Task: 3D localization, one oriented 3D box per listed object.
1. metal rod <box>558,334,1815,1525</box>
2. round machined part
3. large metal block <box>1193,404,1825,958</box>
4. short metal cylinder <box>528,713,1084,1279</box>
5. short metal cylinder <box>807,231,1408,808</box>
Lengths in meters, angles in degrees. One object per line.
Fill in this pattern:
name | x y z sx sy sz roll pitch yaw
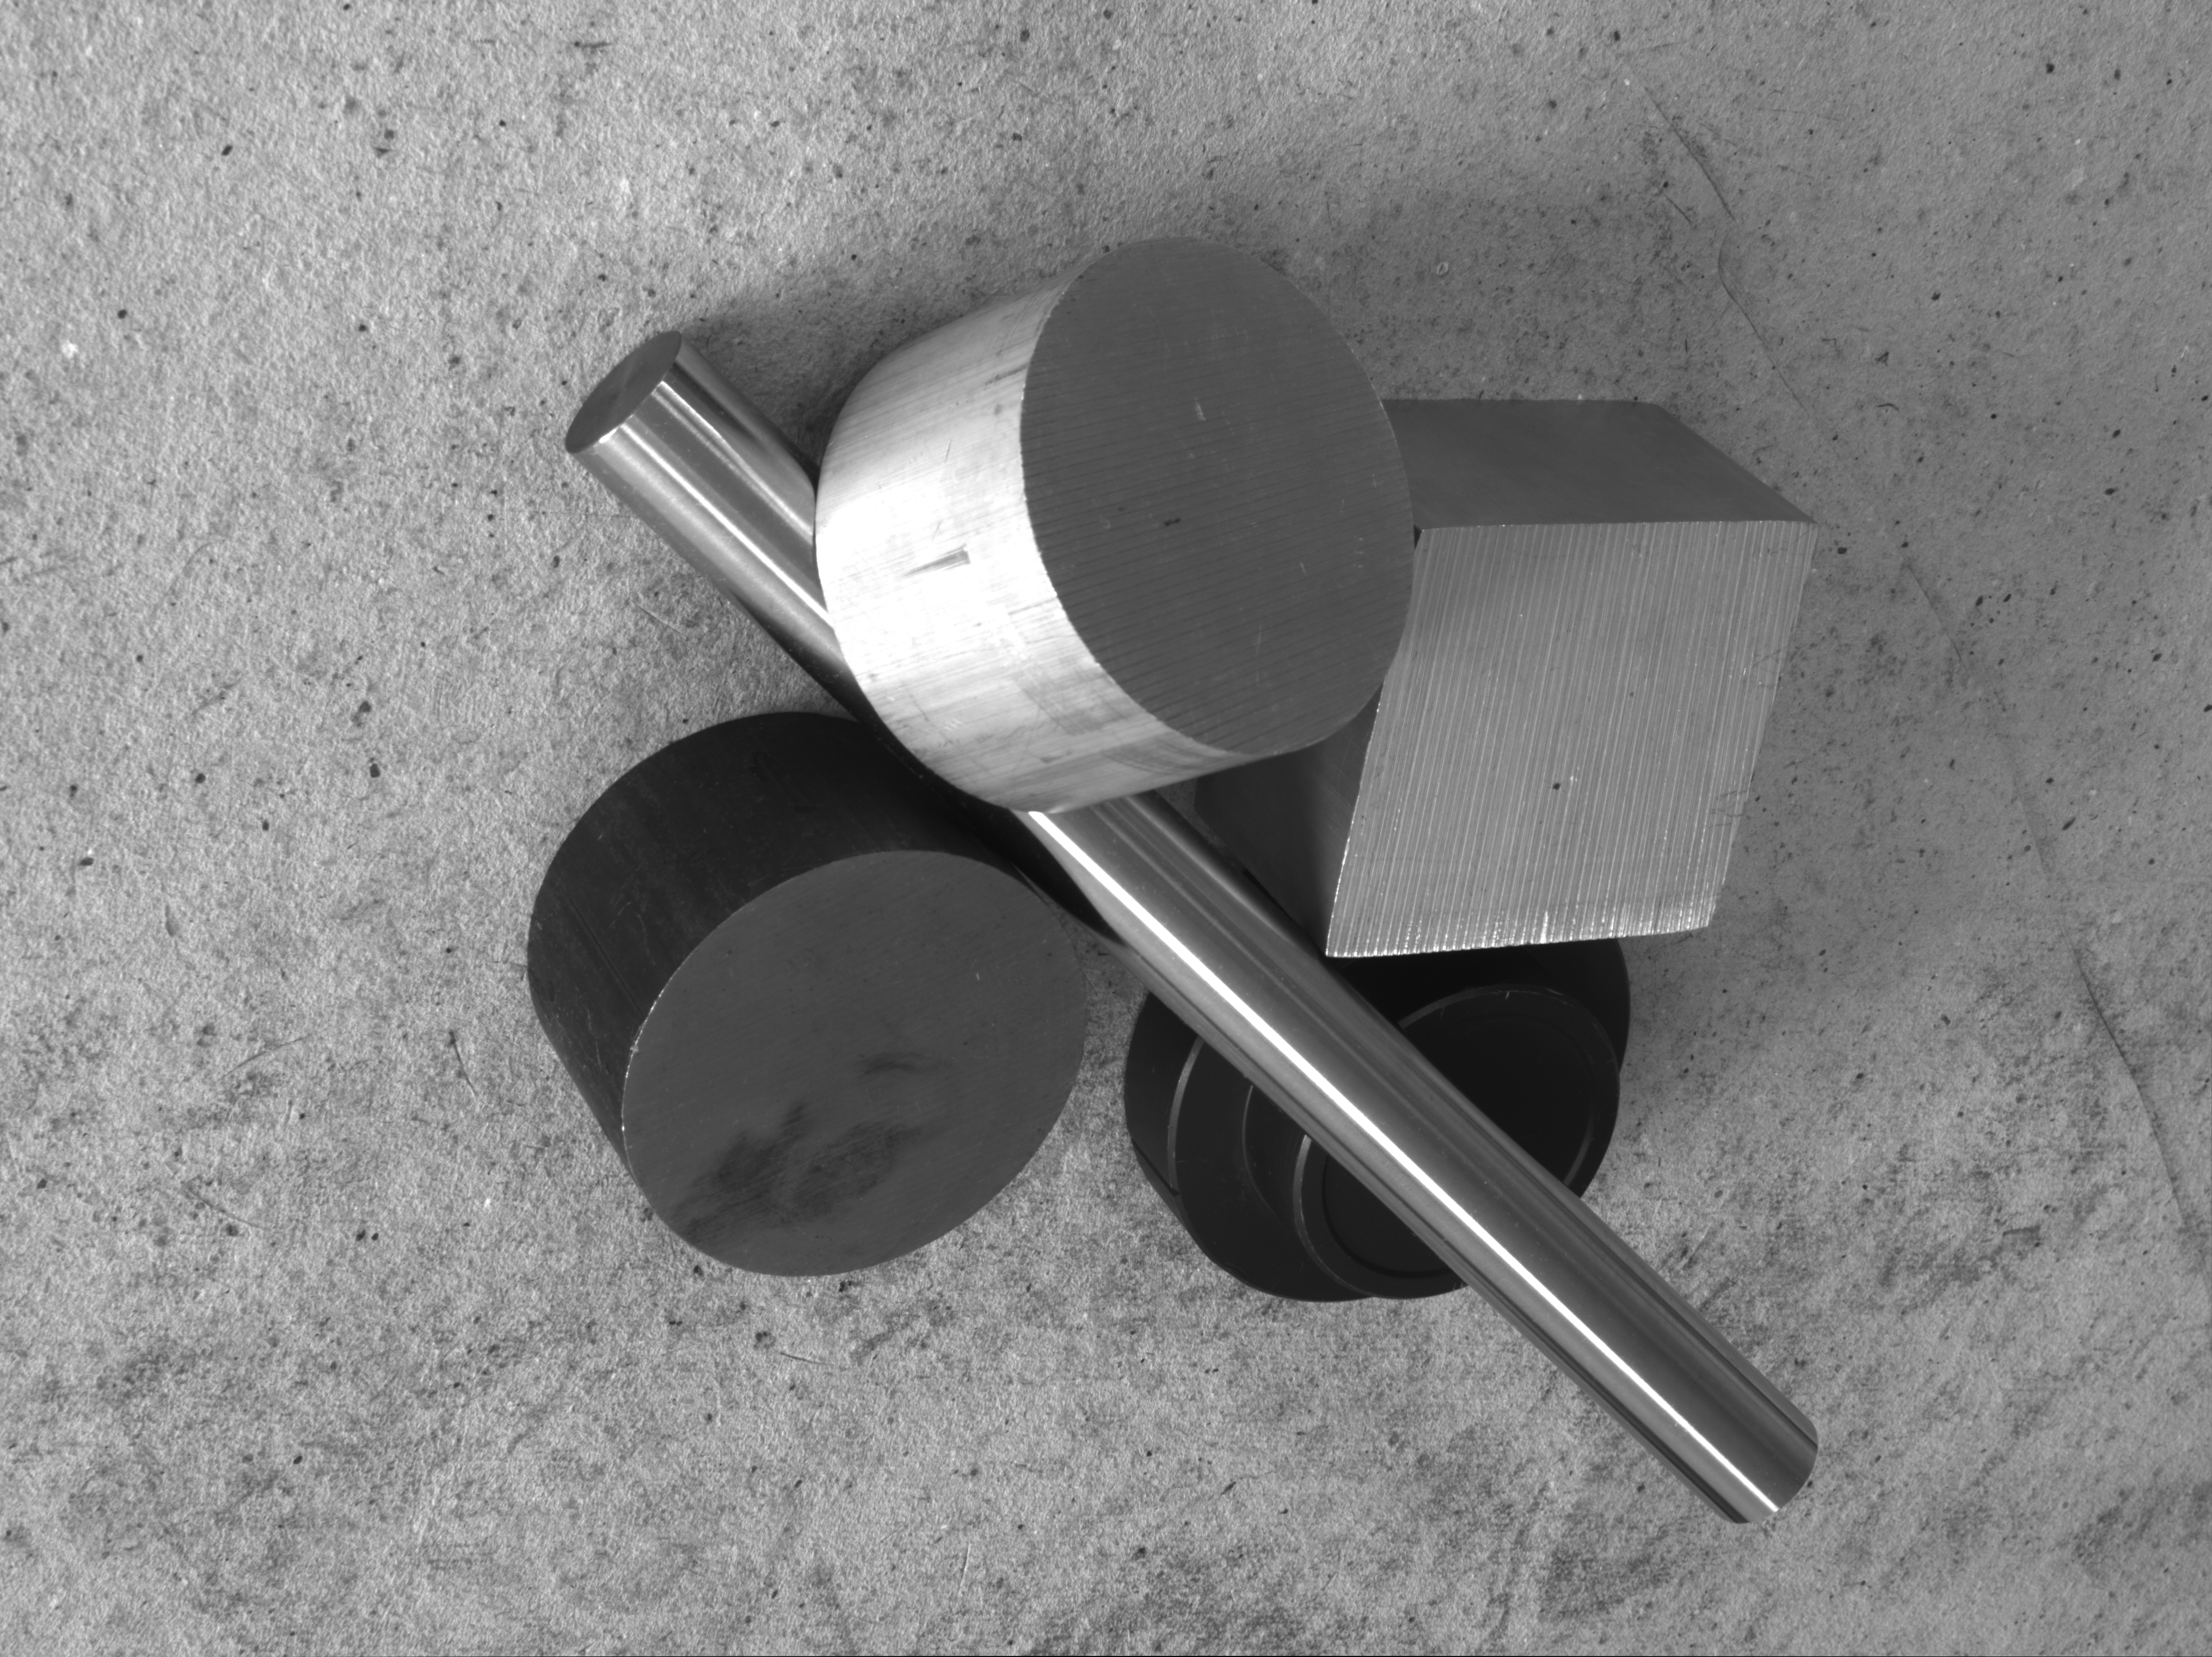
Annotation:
metal rod | 0.024 0.027 0.624 0.025 0.025 0.301 -45 116 3
round machined part | 0.056 0.050 0.686 0.098 0.042 0.098 -13 124 -21
large metal block | 0.069 -0.027 0.640 0.080 0.050 0.080 -3 120 -27
short metal cylinder | -0.050 0.028 0.613 0.080 0.050 0.080 -13 124 -21
short metal cylinder | 0.001 -0.047 0.570 0.080 0.050 0.080 11 73 -40
